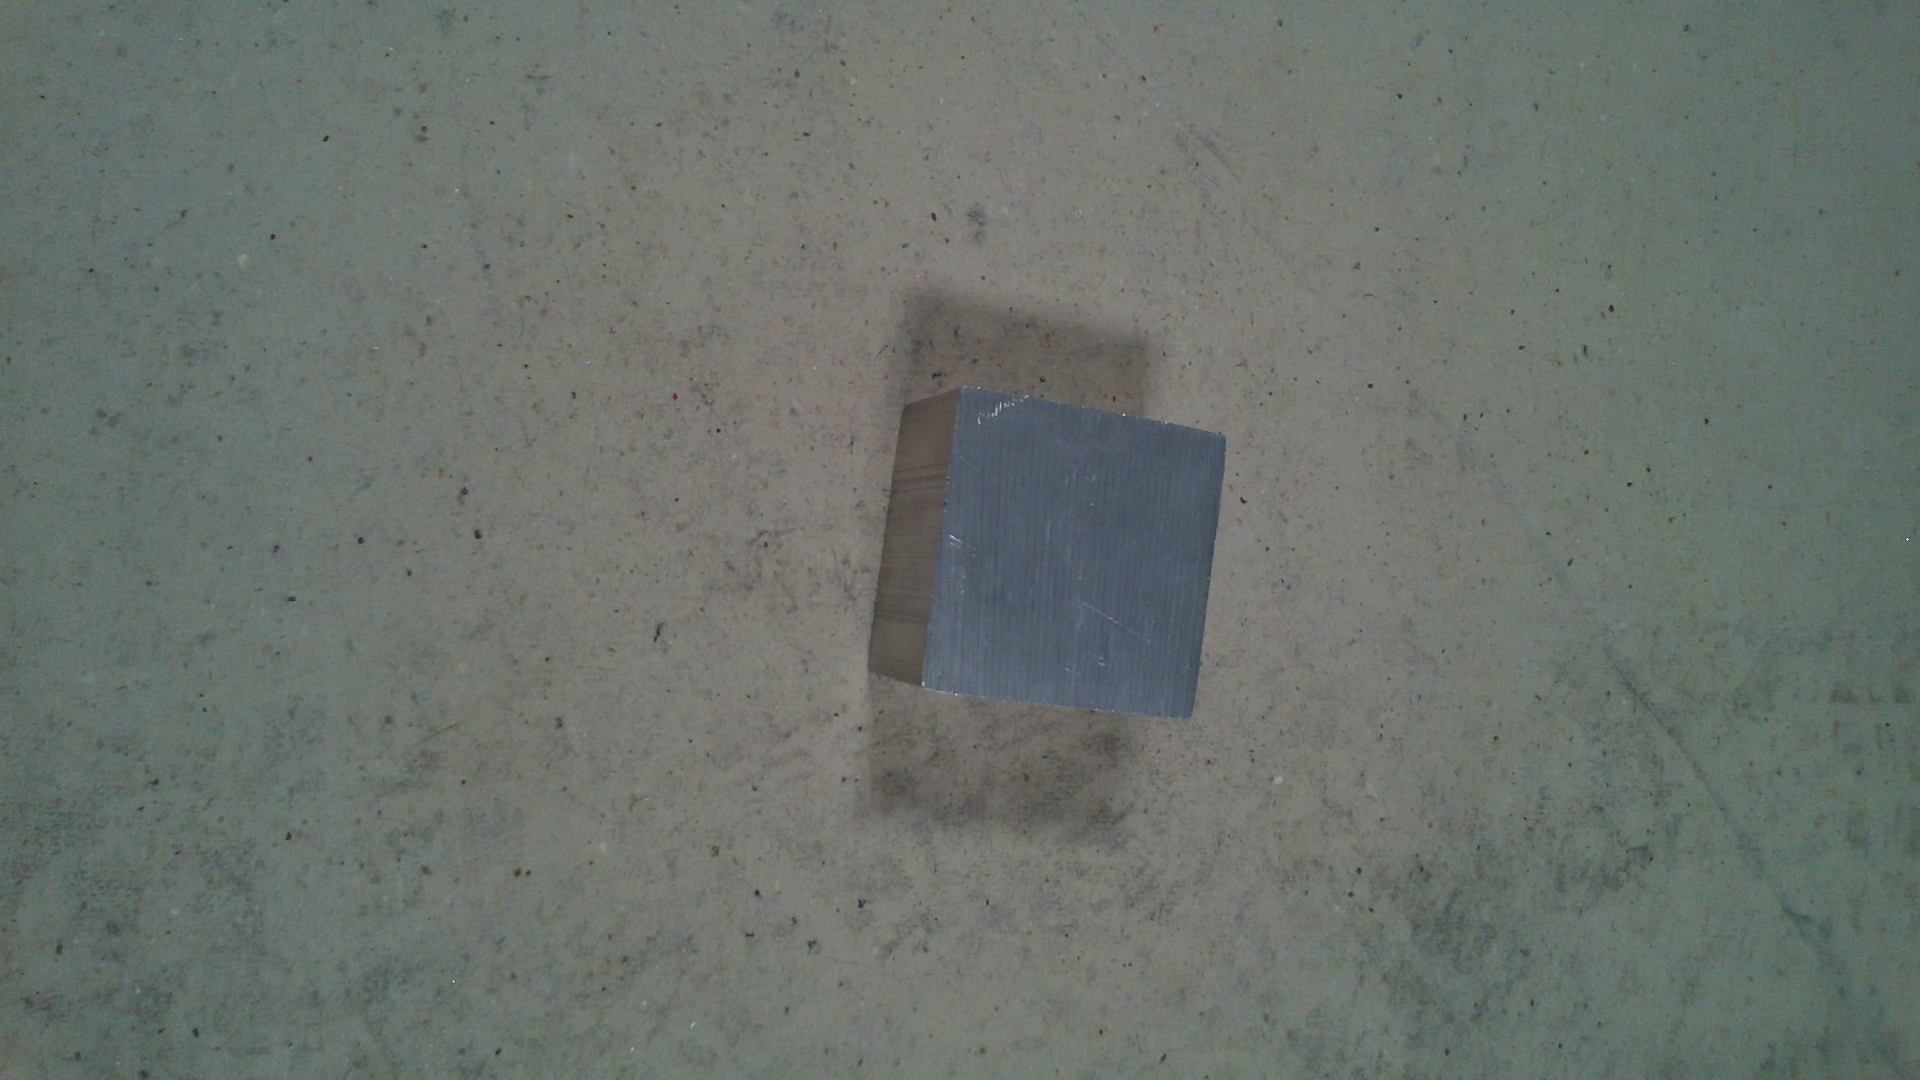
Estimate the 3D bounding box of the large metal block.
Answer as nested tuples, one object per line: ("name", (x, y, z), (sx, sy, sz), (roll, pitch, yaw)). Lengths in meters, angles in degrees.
("large metal block", (0.024, 0.004, 0.389), (0.080, 0.050, 0.080), (8, 87, -20))
